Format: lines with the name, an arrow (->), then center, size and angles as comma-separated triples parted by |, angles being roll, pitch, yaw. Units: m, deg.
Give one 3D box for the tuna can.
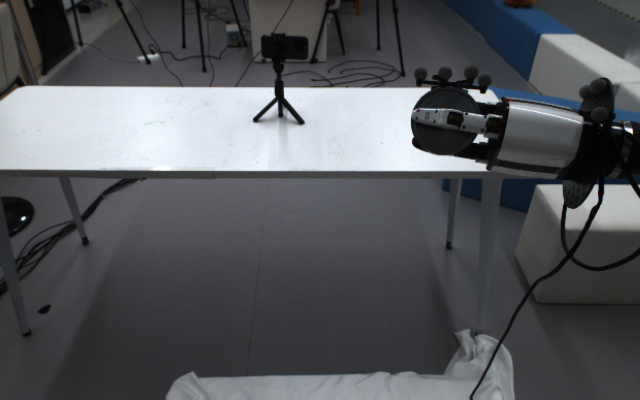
tuna can -> 0.161, -0.104, 0.622 | 0.085, 0.085, 0.034 | 11, 2, 12
